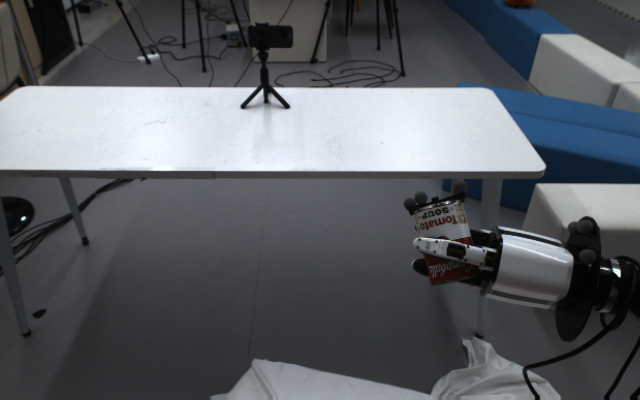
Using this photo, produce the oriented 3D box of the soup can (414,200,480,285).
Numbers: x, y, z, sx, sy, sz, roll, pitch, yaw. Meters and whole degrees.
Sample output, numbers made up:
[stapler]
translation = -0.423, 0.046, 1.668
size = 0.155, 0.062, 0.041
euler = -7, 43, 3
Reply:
[soup can]
translation = 0.172, 0.055, 0.646
size = 0.067, 0.067, 0.101
euler = -11, 80, -19
